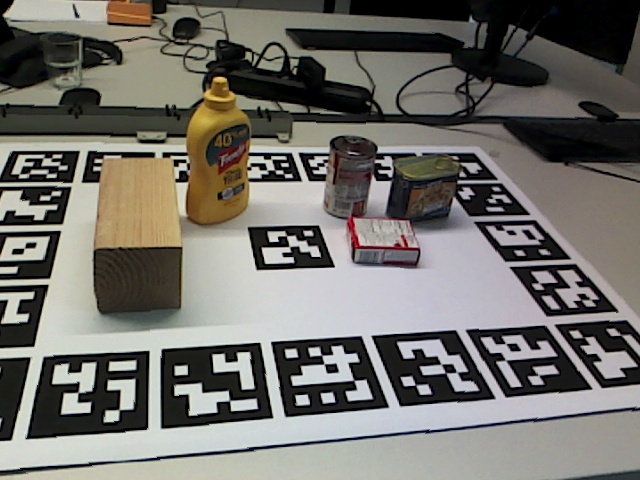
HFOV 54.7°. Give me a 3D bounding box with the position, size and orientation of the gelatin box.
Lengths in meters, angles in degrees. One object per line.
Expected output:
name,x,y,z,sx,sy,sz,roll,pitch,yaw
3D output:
gelatin box,0.087,0.000,0.831,0.089,0.030,0.073,2,36,-3

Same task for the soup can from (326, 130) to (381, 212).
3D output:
soup can,0.047,-0.099,0.898,0.068,0.102,0.068,5,35,-4

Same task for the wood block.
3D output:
wood block,-0.215,-0.015,0.749,0.090,0.090,0.207,0,30,-14

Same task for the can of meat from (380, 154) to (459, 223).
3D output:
can of meat,0.144,-0.074,0.912,0.101,0.083,0.058,-9,37,-27

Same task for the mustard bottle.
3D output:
mustard bottle,-0.137,-0.115,0.830,0.096,0.191,0.059,-18,41,-35
